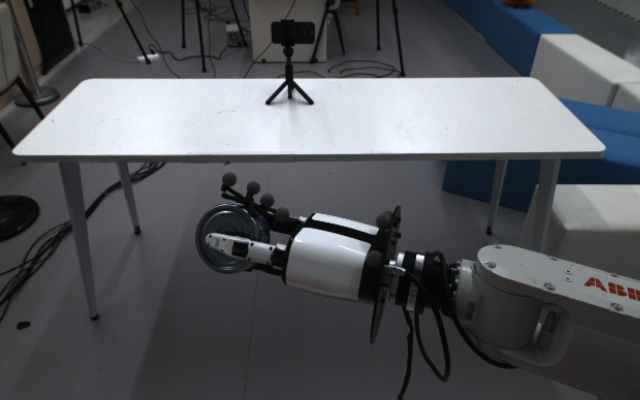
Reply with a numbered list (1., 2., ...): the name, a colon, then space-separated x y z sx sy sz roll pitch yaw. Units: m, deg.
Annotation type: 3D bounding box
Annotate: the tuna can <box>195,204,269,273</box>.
1. tuna can: -0.104 0.046 0.587 0.085 0.085 0.034 12 4 15
